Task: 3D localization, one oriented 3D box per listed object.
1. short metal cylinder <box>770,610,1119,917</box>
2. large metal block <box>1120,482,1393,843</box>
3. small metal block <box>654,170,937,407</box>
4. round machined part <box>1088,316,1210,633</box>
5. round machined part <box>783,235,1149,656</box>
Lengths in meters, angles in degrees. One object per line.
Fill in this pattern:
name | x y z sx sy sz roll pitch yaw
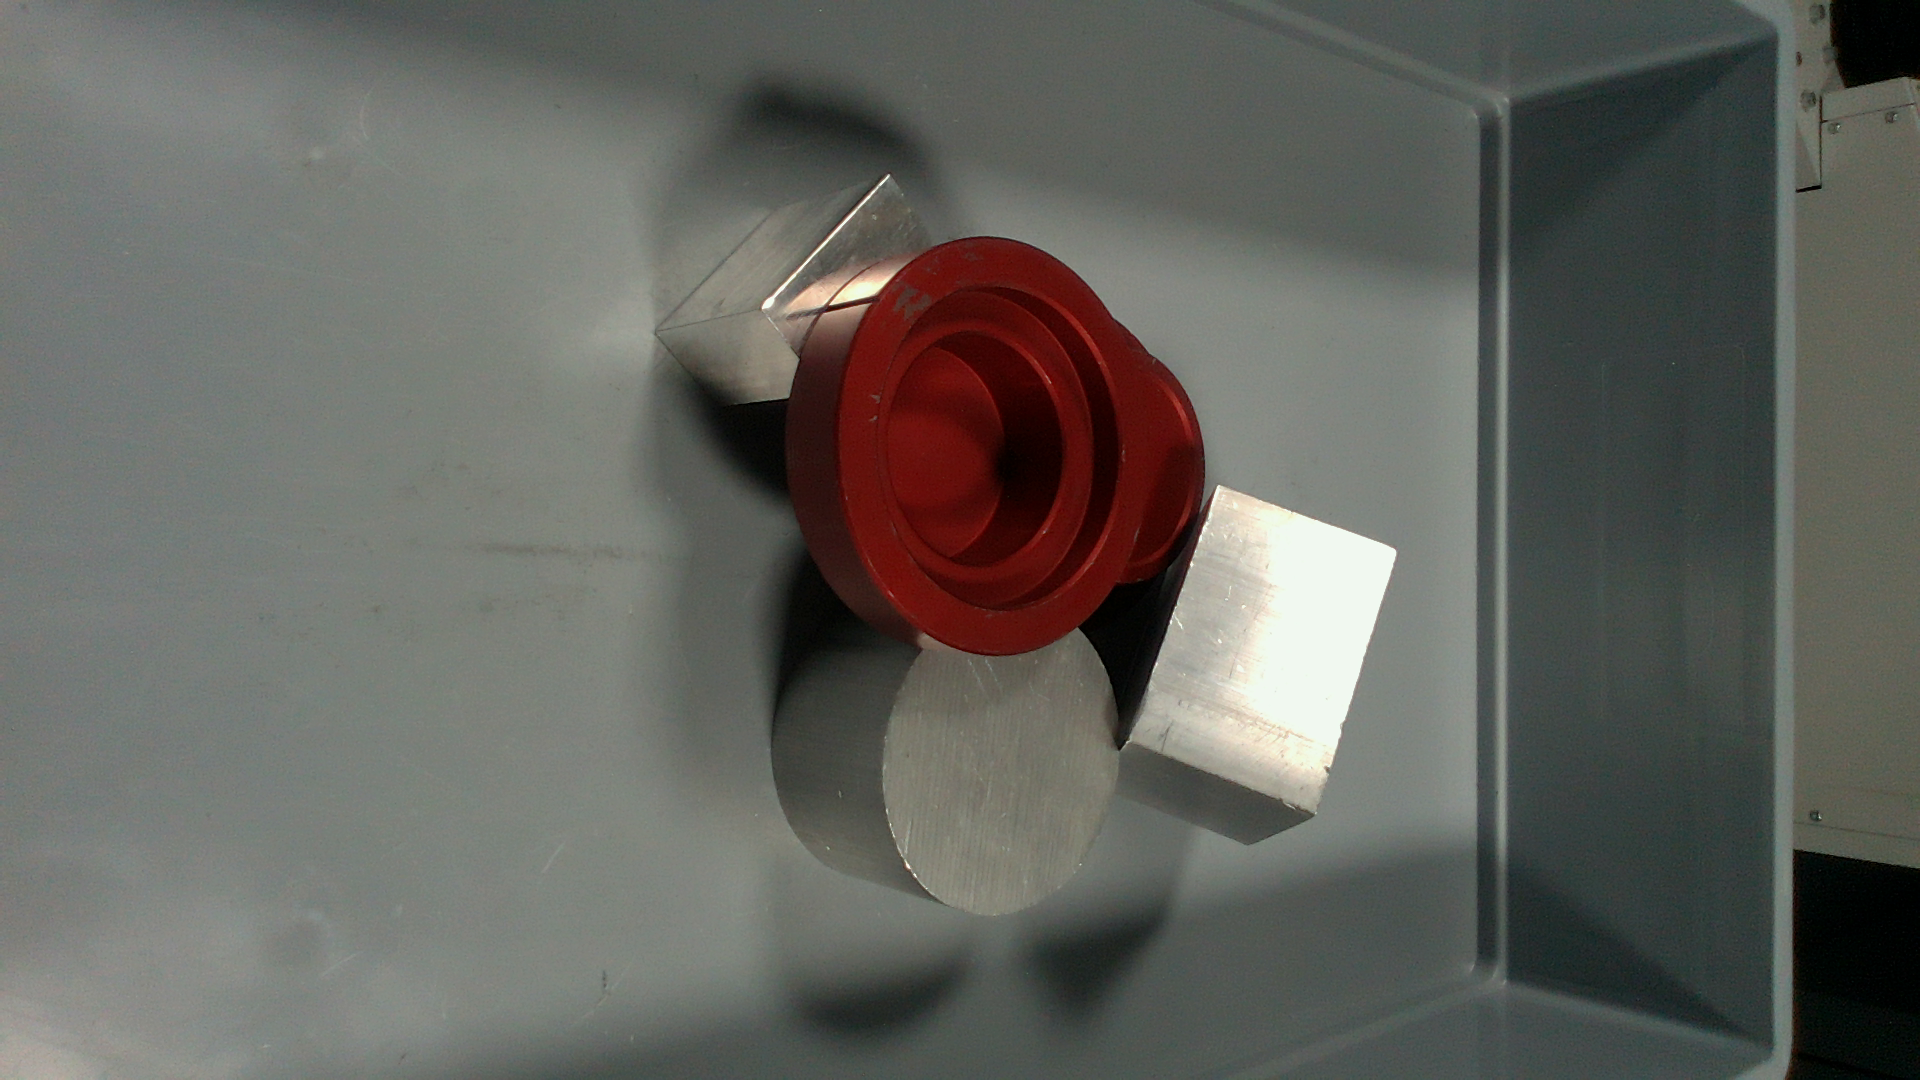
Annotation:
short metal cylinder | -0.003 0.055 0.368 0.080 0.050 0.080 0 90 -40
large metal block | 0.082 0.040 0.411 0.050 0.080 0.080 21 72 4
small metal block | -0.039 -0.061 0.338 0.025 0.050 0.050 52 60 -27
round machined part | 0.035 -0.021 0.404 0.098 0.042 0.098 0 90 -40
round machined part | -0.002 -0.022 0.337 0.098 0.042 0.098 0 90 -40
